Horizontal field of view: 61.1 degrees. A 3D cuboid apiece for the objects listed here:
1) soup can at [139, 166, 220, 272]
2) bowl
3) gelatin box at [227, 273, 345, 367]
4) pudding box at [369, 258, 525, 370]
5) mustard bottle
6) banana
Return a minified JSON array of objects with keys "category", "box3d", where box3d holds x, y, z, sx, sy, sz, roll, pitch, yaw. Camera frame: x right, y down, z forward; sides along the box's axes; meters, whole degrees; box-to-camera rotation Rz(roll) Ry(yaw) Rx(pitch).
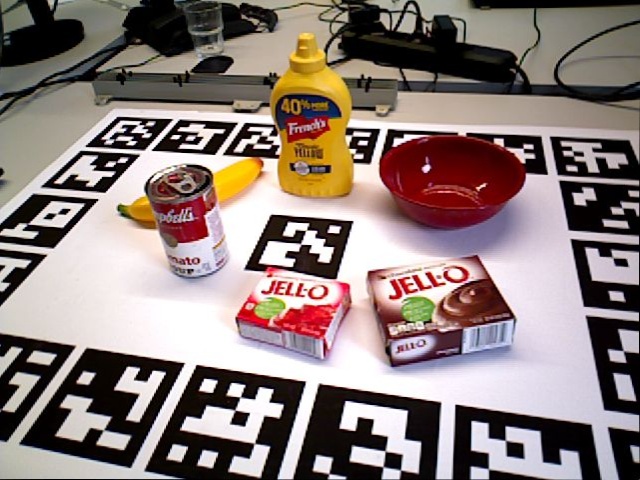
[{"category":"soup can","box3d":[-0.143,-0.027,0.562,0.067,0.104,0.067,-1,38,0]},{"category":"bowl","box3d":[0.157,-0.057,0.621,0.161,0.056,0.159,-5,38,3]},{"category":"gelatin box","box3d":[-0.029,0.071,0.501,0.090,0.031,0.071,10,44,19]},{"category":"pudding box","box3d":[0.109,0.062,0.487,0.113,0.039,0.089,-10,45,-5]},{"category":"mustard bottle","box3d":[-0.009,-0.148,0.620,0.096,0.195,0.057,6,37,12]},{"category":"banana","box3d":[-0.156,-0.067,0.680,0.194,0.039,0.074,-25,33,-23]}]
